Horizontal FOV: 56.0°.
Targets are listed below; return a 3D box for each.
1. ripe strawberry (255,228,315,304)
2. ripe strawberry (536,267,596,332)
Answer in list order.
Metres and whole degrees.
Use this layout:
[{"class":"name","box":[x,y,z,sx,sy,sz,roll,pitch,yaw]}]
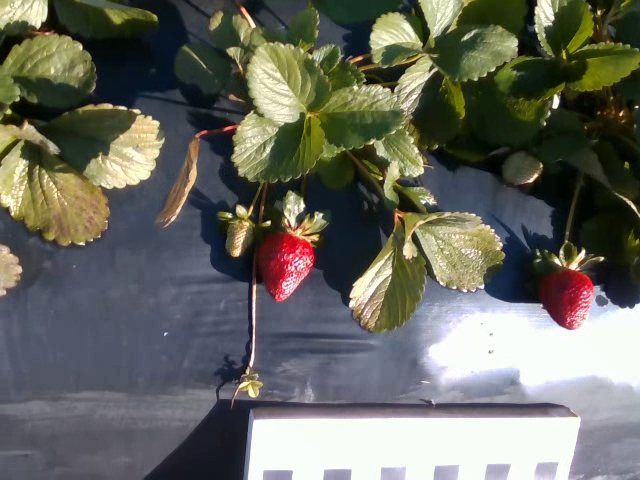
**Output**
[{"class":"ripe strawberry","box":[-0.024,0.019,0.378,0.041,0.053,0.043,15,-31,-19]},{"class":"ripe strawberry","box":[0.176,0.047,0.419,0.042,0.050,0.043,39,-43,-23]}]
